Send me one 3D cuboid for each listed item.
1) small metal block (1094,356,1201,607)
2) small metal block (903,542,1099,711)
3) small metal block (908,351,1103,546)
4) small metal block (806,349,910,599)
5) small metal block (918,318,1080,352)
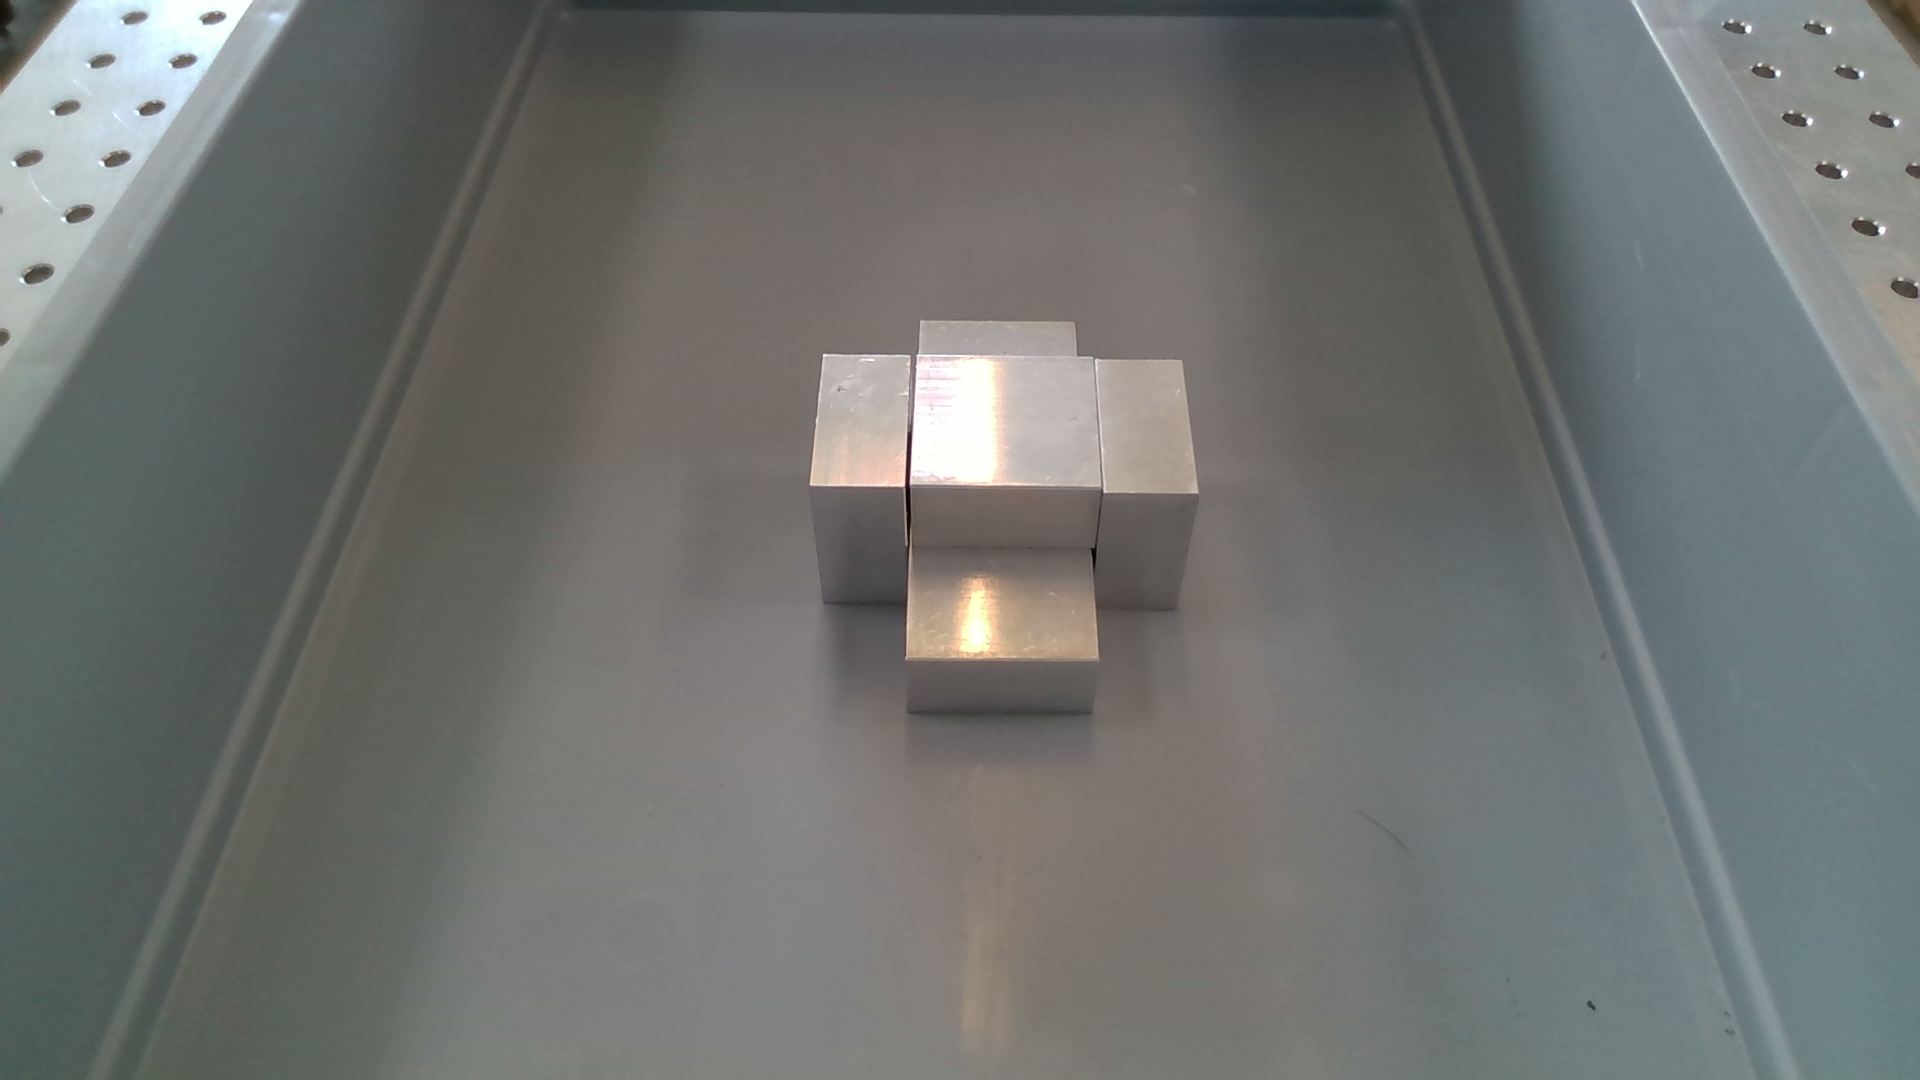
[{"bbox_3d":[0.050,-0.016,0.389,0.025,0.050,0.050,0,50,0],"label":"small metal block"},{"bbox_3d":[0.011,0.019,0.377,0.050,0.025,0.050,0,50,0],"label":"small metal block"},{"bbox_3d":[0.012,-0.026,0.380,0.050,0.025,0.050,0,50,0],"label":"small metal block"},{"bbox_3d":[-0.027,-0.018,0.389,0.025,0.050,0.050,0,50,0],"label":"small metal block"},{"bbox_3d":[0.012,-0.043,0.427,0.050,0.025,0.050,0,50,0],"label":"small metal block"}]
